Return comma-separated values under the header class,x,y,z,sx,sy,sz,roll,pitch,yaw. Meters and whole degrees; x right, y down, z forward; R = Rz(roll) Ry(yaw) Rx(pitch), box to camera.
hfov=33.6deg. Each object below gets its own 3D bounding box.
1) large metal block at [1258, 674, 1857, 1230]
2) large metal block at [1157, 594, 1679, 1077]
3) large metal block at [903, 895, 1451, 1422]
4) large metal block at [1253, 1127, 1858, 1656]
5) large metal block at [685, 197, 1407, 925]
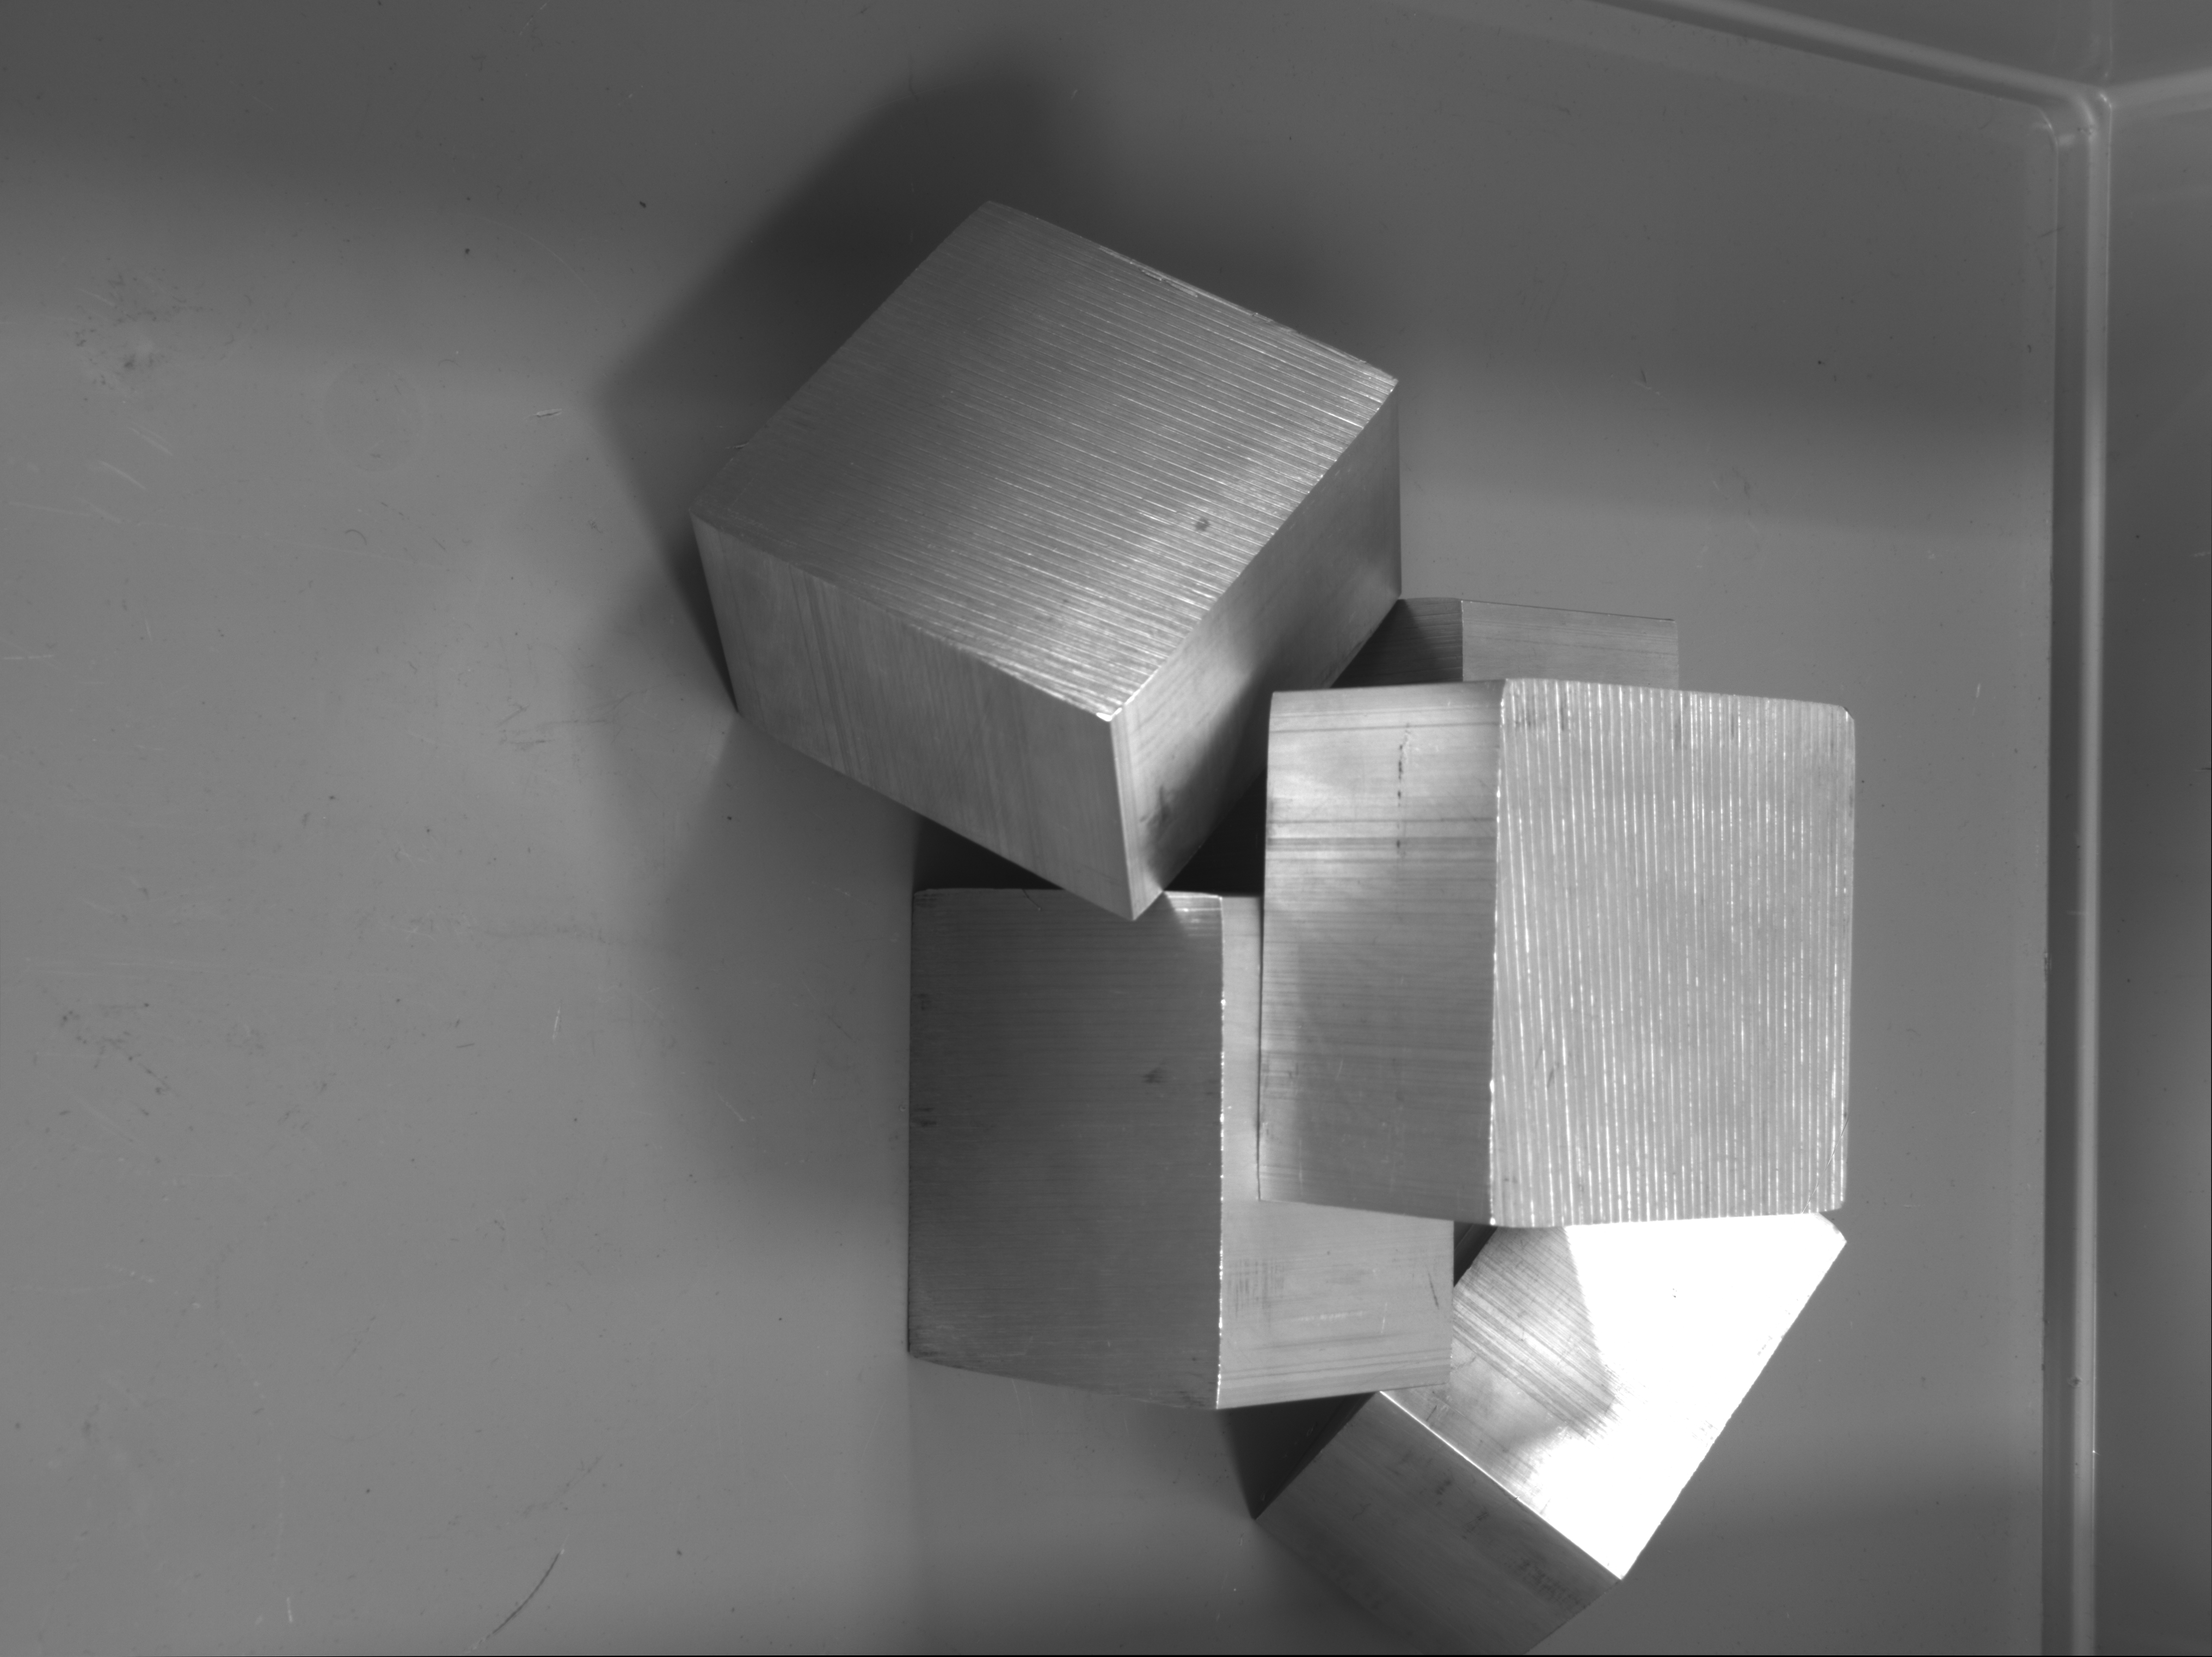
class,x,y,z,sx,sy,sz,roll,pitch,yaw
large metal block,0.071,0.019,0.573,0.080,0.050,0.080,2,88,-40
large metal block,0.053,0.003,0.641,0.050,0.080,0.080,2,89,-40
large metal block,0.011,0.051,0.608,0.050,0.080,0.080,2,89,-40
large metal block,0.079,0.099,0.654,0.050,0.080,0.080,38,61,6
large metal block,-0.007,-0.044,0.583,0.080,0.080,0.050,-50,155,-28
